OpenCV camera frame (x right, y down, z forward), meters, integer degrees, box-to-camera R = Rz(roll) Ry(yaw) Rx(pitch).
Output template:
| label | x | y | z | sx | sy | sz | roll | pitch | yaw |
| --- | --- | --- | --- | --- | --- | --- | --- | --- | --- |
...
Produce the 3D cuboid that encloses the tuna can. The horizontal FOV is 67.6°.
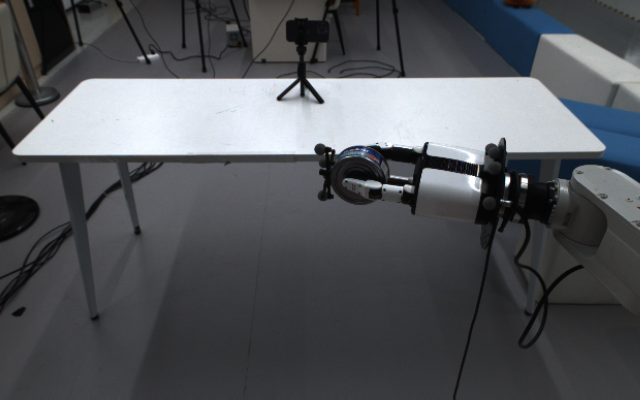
| label | x | y | z | sx | sy | sz | roll | pitch | yaw |
| --- | --- | --- | --- | --- | --- | --- | --- | --- | --- |
| tuna can | 0.061 | -0.035 | 0.719 | 0.085 | 0.085 | 0.034 | 9 | 32 | 10 |
